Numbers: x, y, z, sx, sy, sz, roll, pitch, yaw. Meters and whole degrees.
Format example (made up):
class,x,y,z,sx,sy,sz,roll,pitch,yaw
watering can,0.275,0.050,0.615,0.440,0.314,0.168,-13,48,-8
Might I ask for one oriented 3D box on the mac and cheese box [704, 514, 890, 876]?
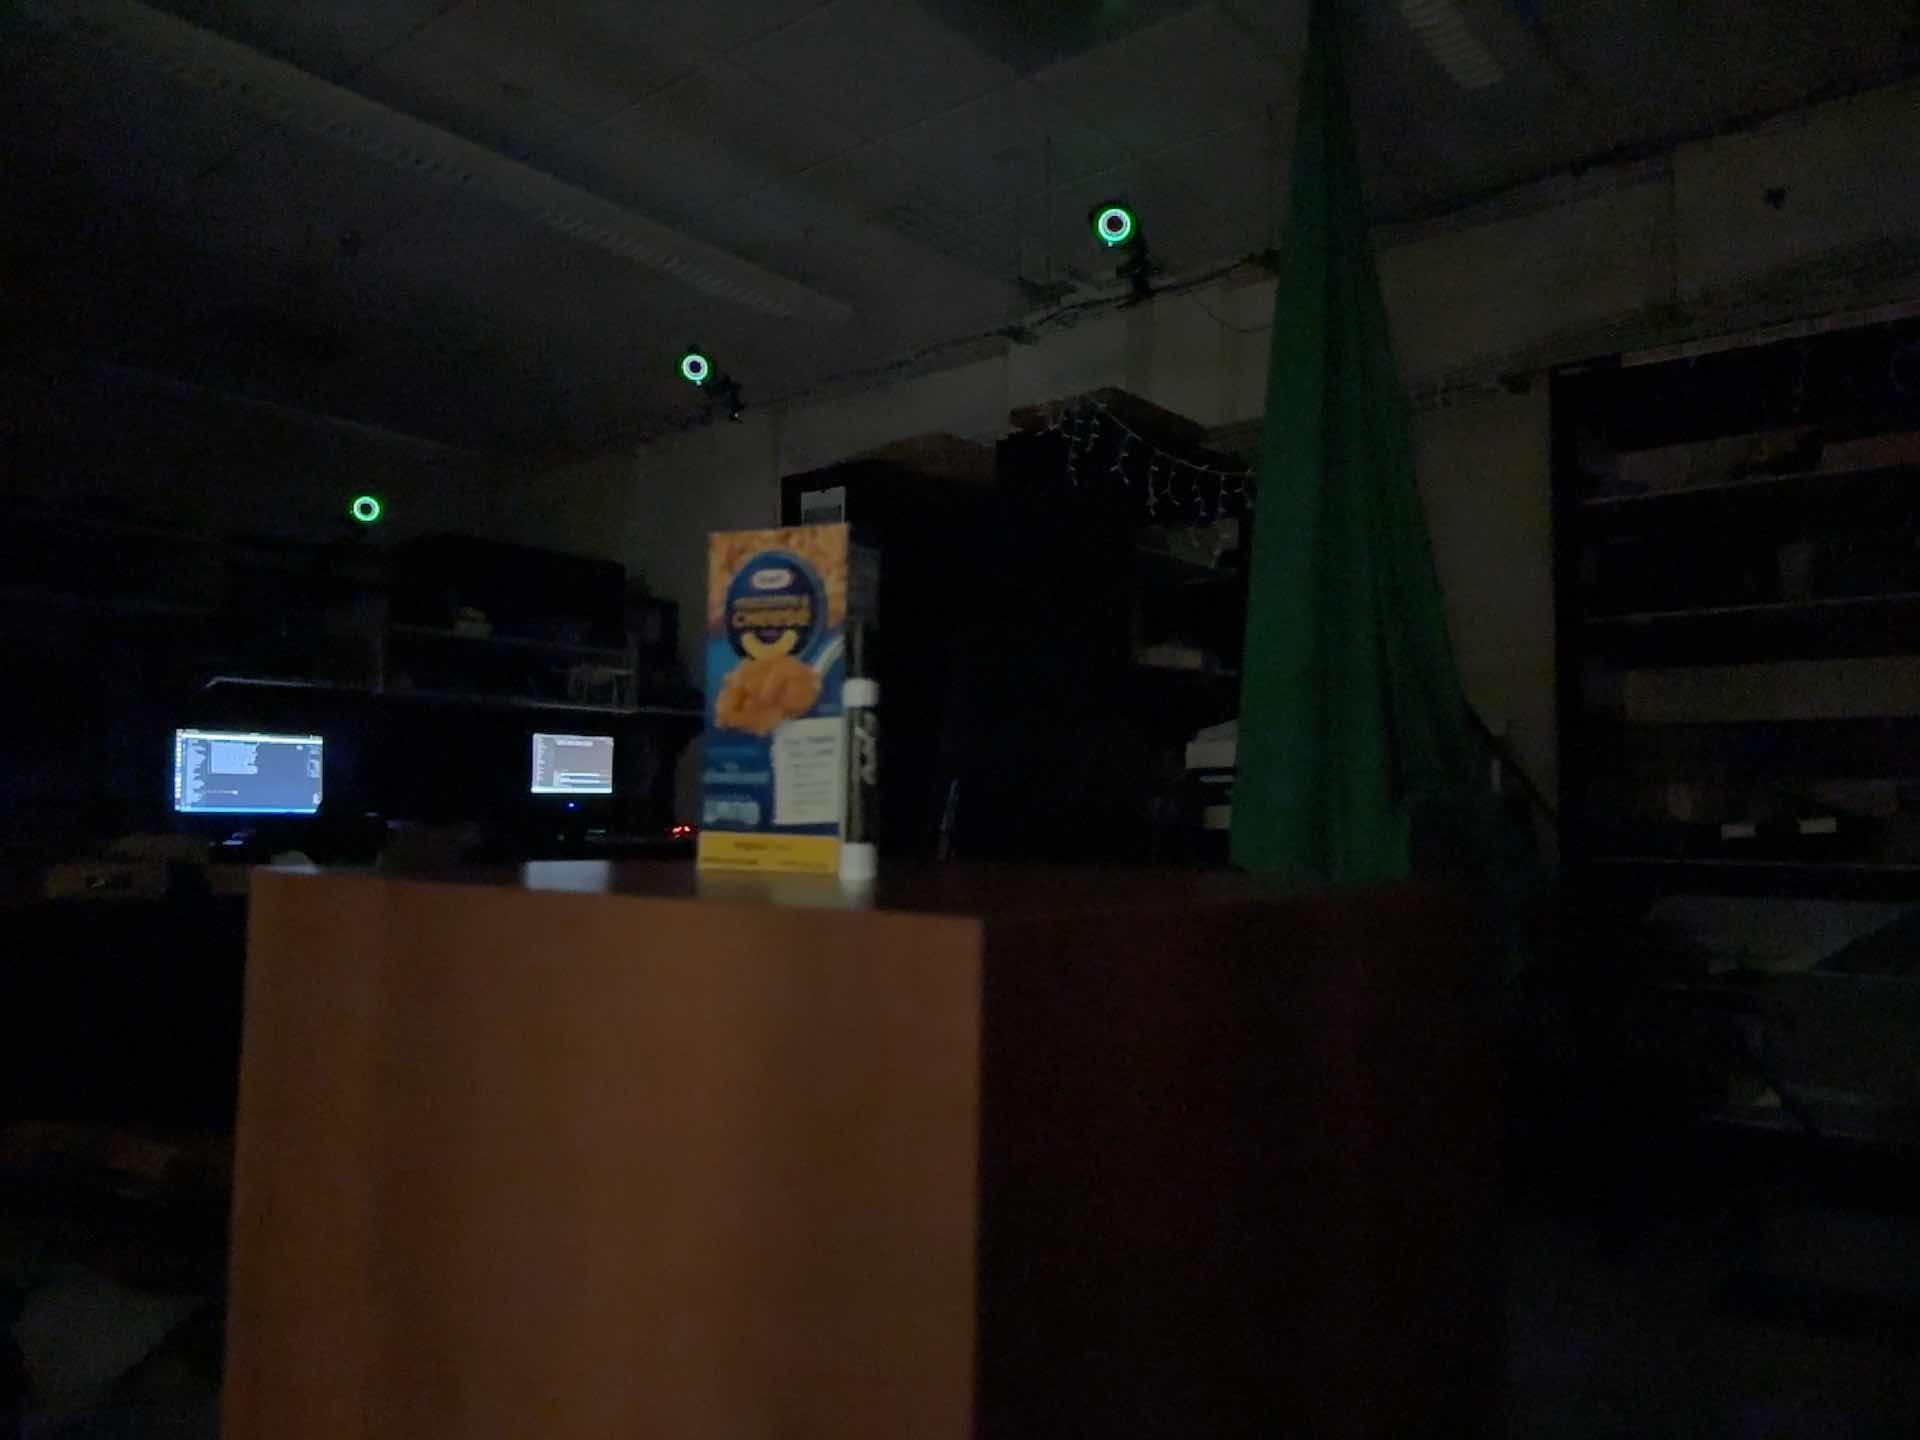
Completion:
class,x,y,z,sx,sy,sz,roll,pitch,yaw
mac and cheese box,-0.086,-0.012,0.709,0.088,0.181,0.035,0,-3,33

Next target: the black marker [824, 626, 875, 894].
class,x,y,z,sx,sy,sz,roll,pitch,yaw
black marker,-0.050,0.018,0.612,0.020,0.121,0.020,2,-4,0
